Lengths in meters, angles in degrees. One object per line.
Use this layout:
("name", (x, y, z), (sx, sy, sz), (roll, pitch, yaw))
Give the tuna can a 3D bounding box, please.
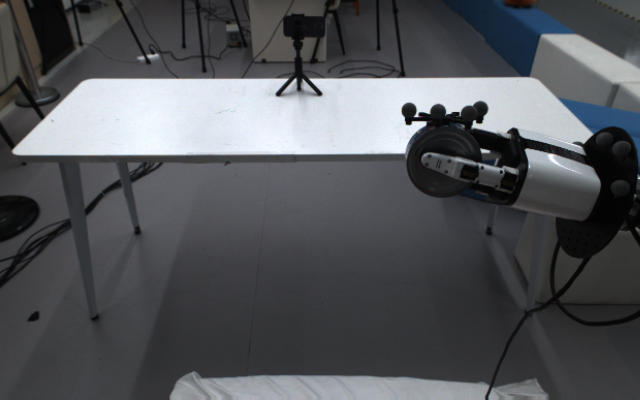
("tuna can", (0.146, -0.049, 0.575), (0.085, 0.085, 0.034), (4, 18, 3))
